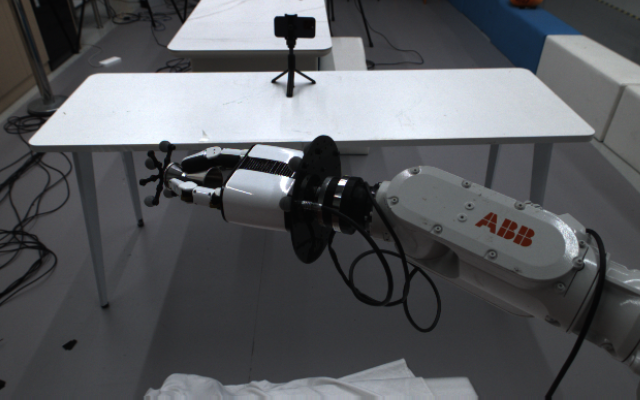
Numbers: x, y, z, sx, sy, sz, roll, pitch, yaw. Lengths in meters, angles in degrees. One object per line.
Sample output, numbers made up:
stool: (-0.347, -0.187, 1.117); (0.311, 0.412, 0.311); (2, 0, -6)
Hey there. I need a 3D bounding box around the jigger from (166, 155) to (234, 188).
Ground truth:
jigger: (-0.168, -0.030, 0.662); (0.071, 0.043, 0.043); (10, 35, 21)
